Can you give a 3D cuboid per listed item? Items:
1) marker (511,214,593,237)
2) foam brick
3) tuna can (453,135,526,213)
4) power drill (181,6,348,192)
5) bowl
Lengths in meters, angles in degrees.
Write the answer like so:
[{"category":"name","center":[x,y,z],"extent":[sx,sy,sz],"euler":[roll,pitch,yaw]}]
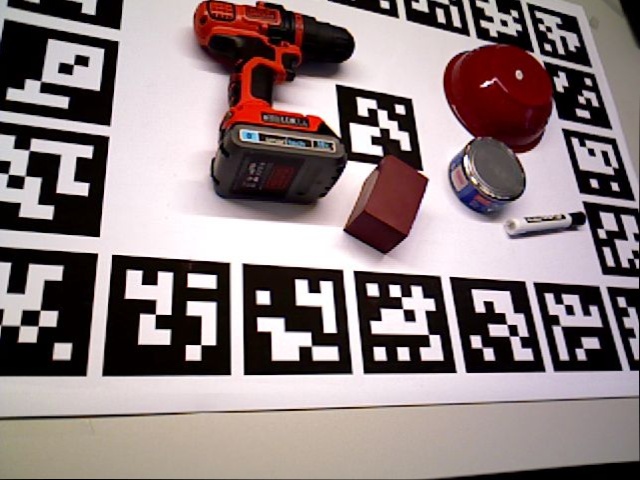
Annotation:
[{"category":"marker","center":[0.277,-0.018,0.641],"extent":[0.119,0.020,0.019],"euler":[-6,72,-25]},{"category":"foam brick","center":[0.069,-0.029,0.550],"extent":[0.051,0.054,0.077],"euler":[27,62,-12]},{"category":"tuna can","center":[0.196,-0.075,0.624],"extent":[0.085,0.034,0.085],"euler":[10,65,-21]},{"category":"power drill","center":[-0.044,-0.143,0.545],"extent":[0.182,0.059,0.185],"euler":[4,64,-25]},{"category":"bowl","center":[0.231,-0.191,0.687],"extent":[0.160,0.056,0.159],"euler":[9,59,-15]}]
